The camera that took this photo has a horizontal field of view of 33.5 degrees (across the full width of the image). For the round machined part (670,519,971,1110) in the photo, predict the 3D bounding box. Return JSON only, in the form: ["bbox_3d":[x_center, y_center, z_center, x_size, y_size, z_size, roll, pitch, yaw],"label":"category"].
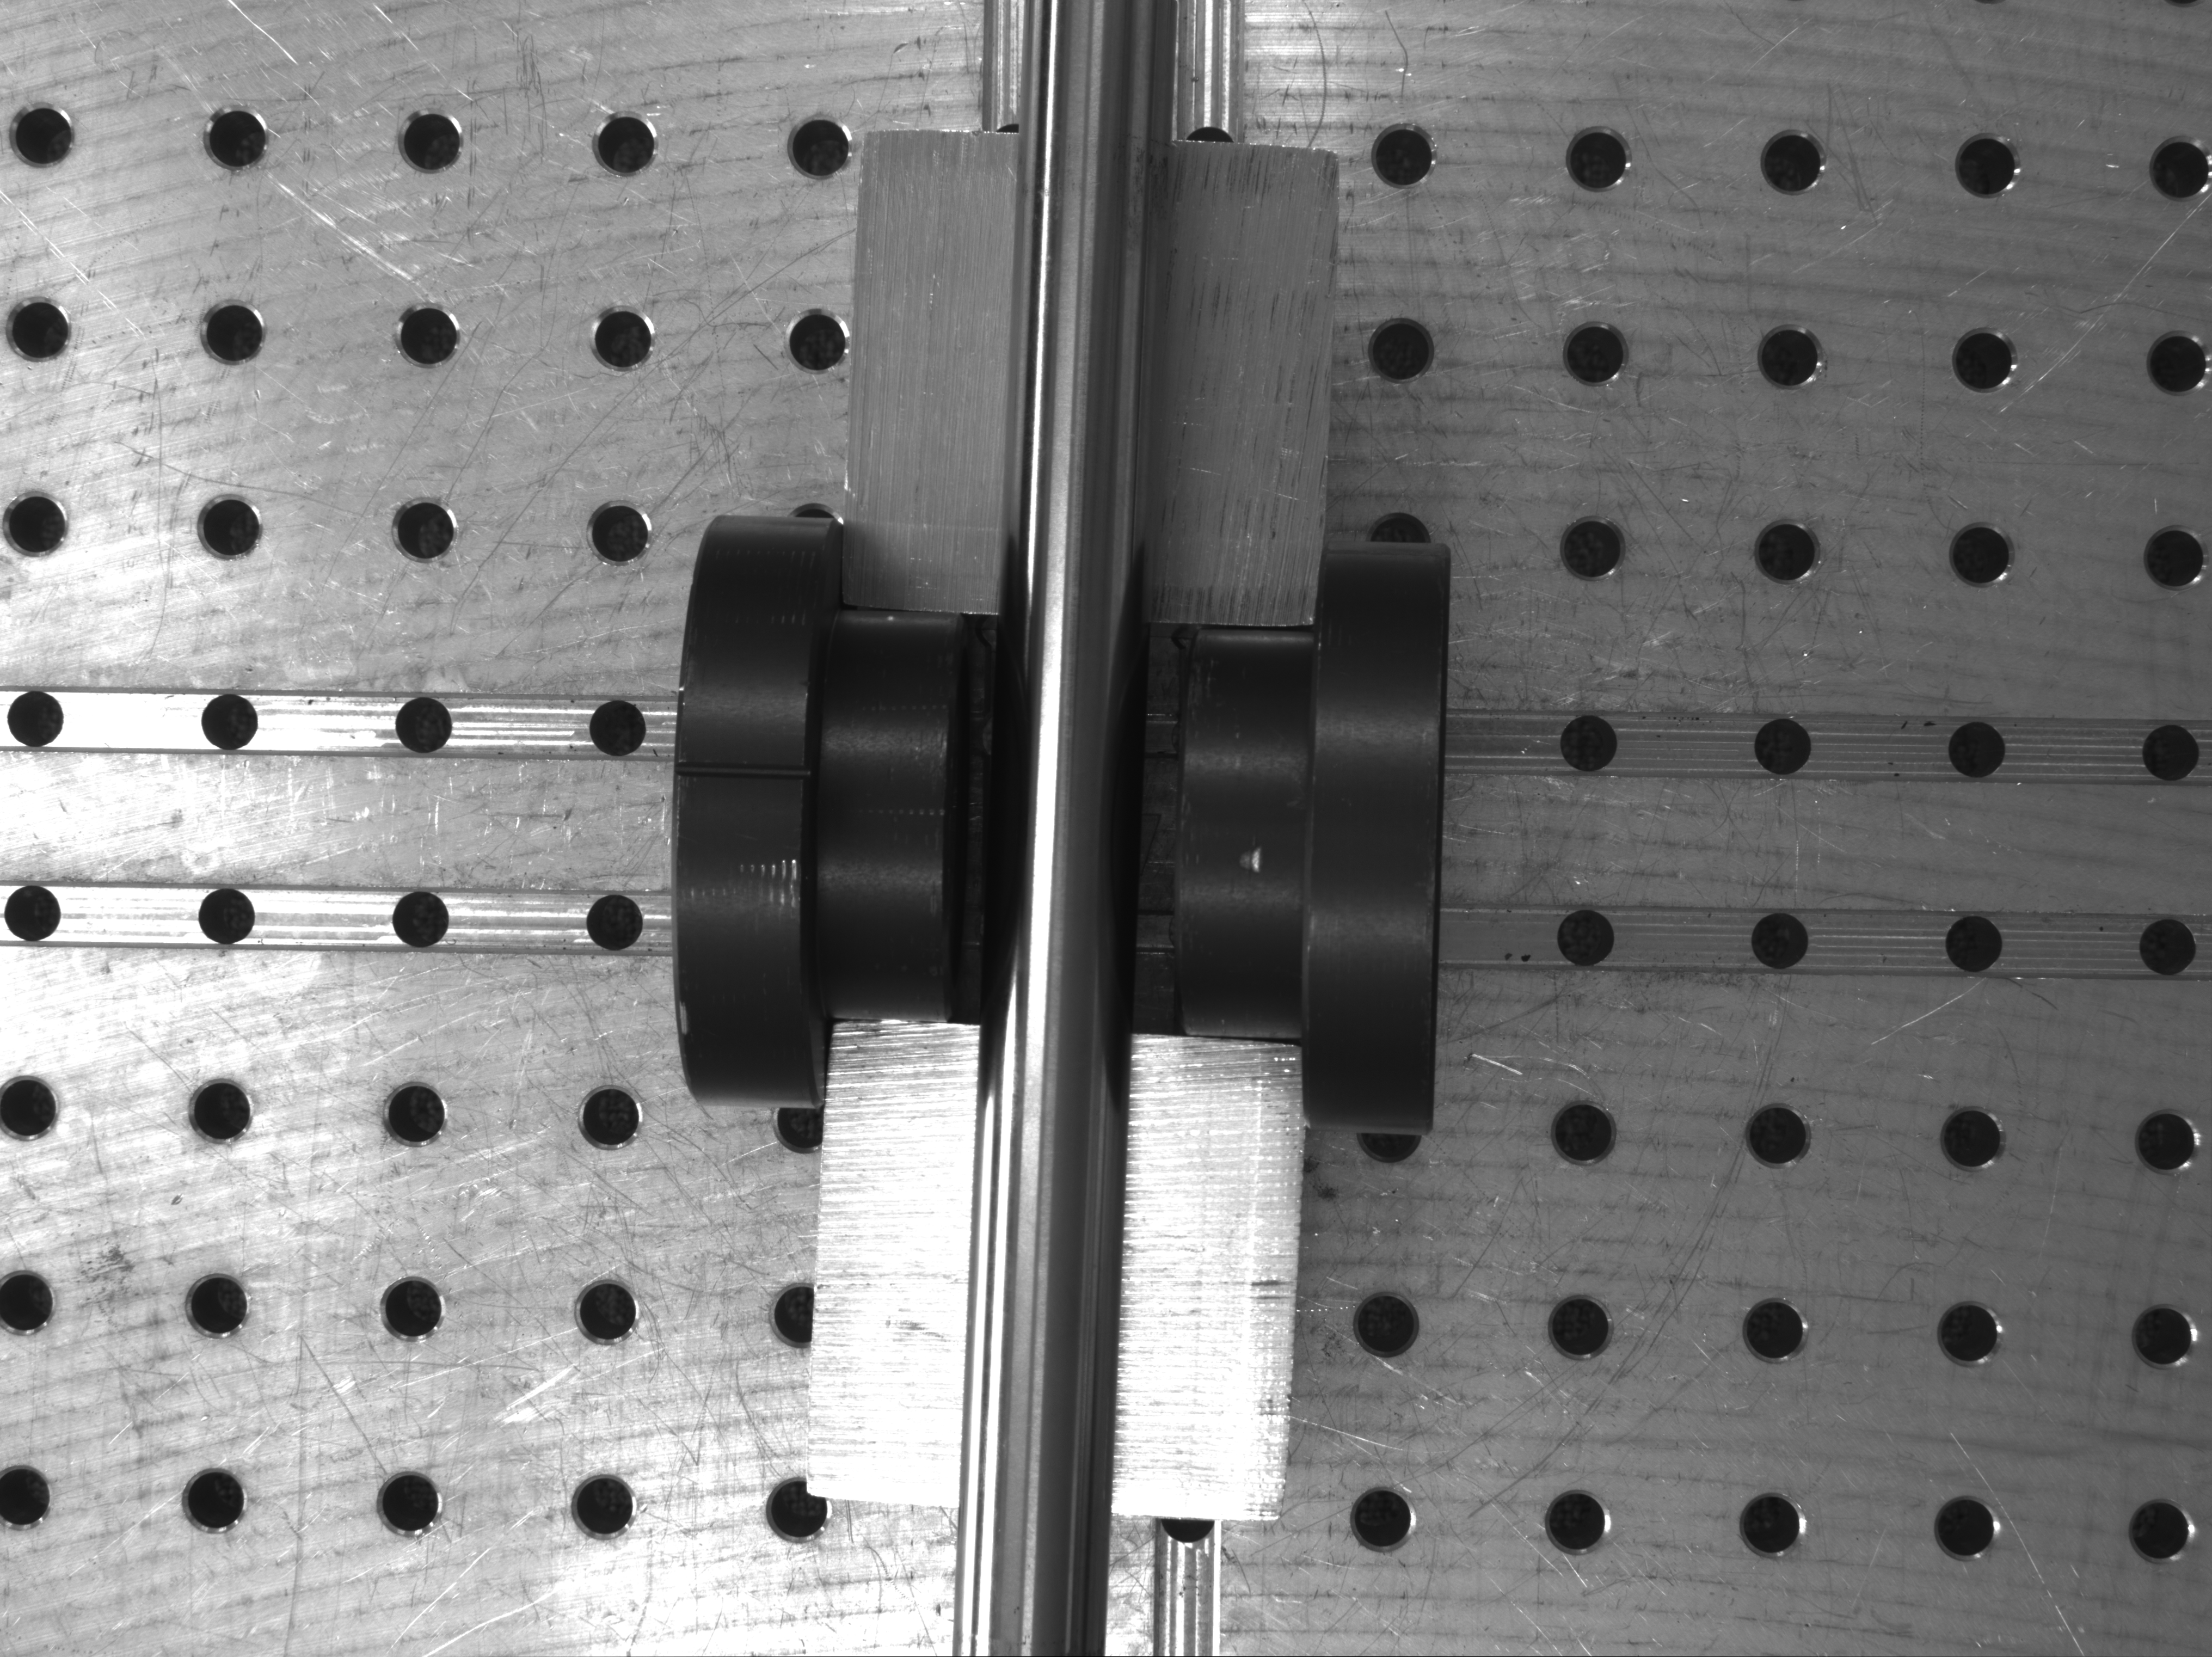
[{"bbox_3d":[-0.045,-0.002,0.611,0.042,0.098,0.098,2,90,0],"label":"round machined part"}]

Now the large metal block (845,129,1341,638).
[{"bbox_3d":[-0.002,-0.075,0.636,0.080,0.050,0.080,2,90,0],"label":"large metal block"}]

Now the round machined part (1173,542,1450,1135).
[{"bbox_3d":[0.035,0.001,0.612,0.042,0.098,0.098,2,90,5],"label":"round machined part"}]

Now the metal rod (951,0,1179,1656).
[{"bbox_3d":[-0.007,0.015,0.598,0.025,0.025,0.300,3,90,0],"label":"metal rod"}]

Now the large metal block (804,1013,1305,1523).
[{"bbox_3d":[-0.008,0.073,0.635,0.080,0.050,0.080,3,90,0],"label":"large metal block"}]
